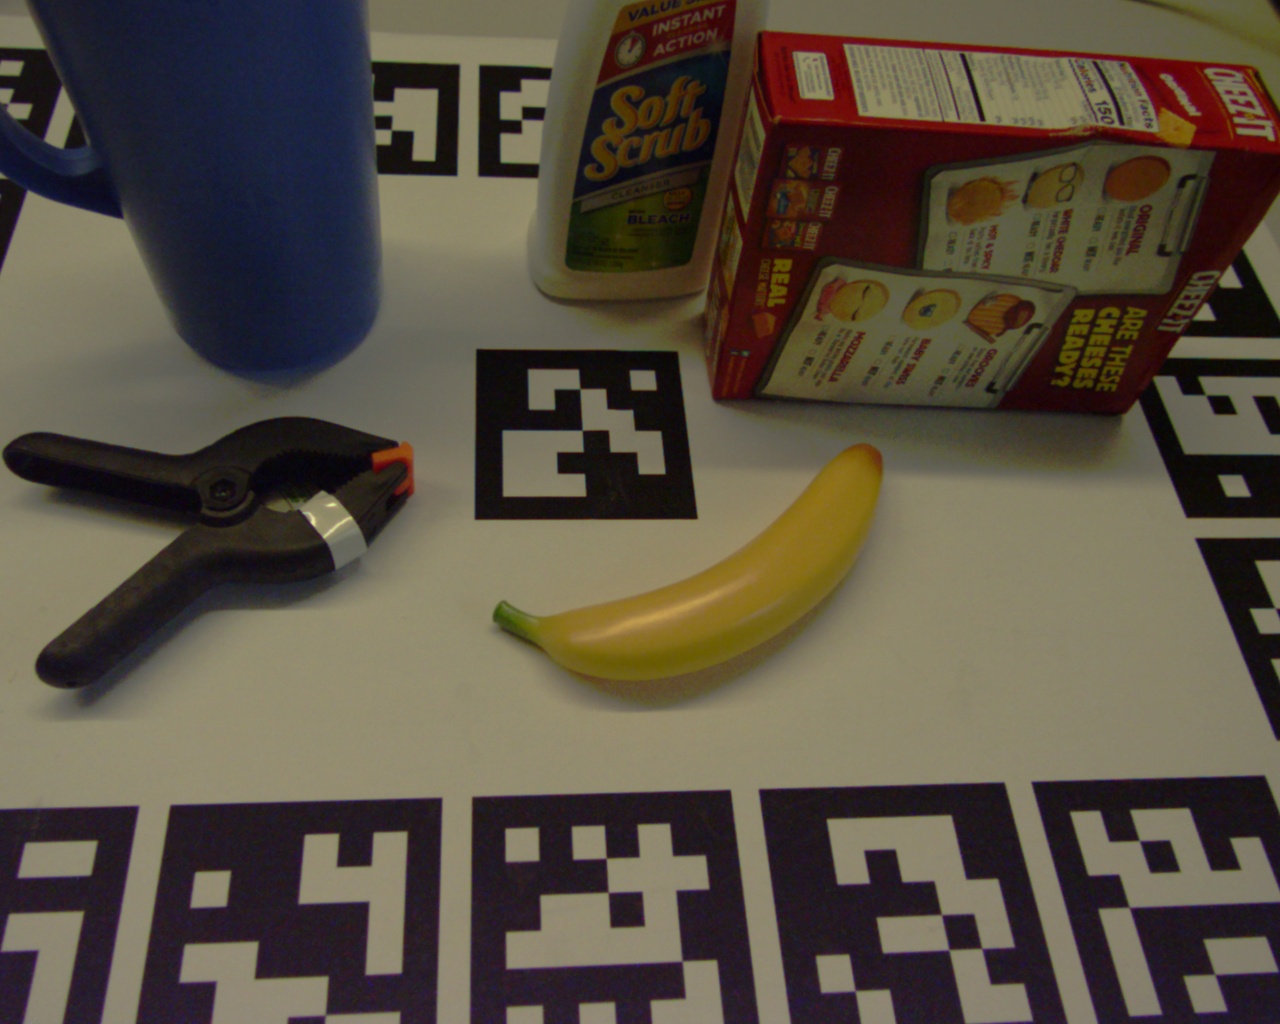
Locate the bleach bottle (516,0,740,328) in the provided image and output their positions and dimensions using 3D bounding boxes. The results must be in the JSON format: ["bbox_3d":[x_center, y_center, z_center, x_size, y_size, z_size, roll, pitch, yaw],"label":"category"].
[{"bbox_3d":[-0.009,-0.201,0.557,0.102,0.250,0.068,-1,54,-7],"label":"bleach bottle"}]

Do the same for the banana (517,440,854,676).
[{"bbox_3d":[0.041,0.025,0.540,0.196,0.039,0.075,-32,63,-24],"label":"banana"}]

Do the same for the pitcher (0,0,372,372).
[{"bbox_3d":[-0.189,-0.176,0.498,0.187,0.242,0.134,-16,57,-20],"label":"pitcher"}]

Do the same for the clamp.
[{"bbox_3d":[-0.179,0.004,0.524,0.164,0.036,0.123,-14,56,-17],"label":"clamp"}]

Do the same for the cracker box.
[{"bbox_3d":[0.148,-0.126,0.553,0.213,0.164,0.072,0,52,-4],"label":"cracker box"}]
